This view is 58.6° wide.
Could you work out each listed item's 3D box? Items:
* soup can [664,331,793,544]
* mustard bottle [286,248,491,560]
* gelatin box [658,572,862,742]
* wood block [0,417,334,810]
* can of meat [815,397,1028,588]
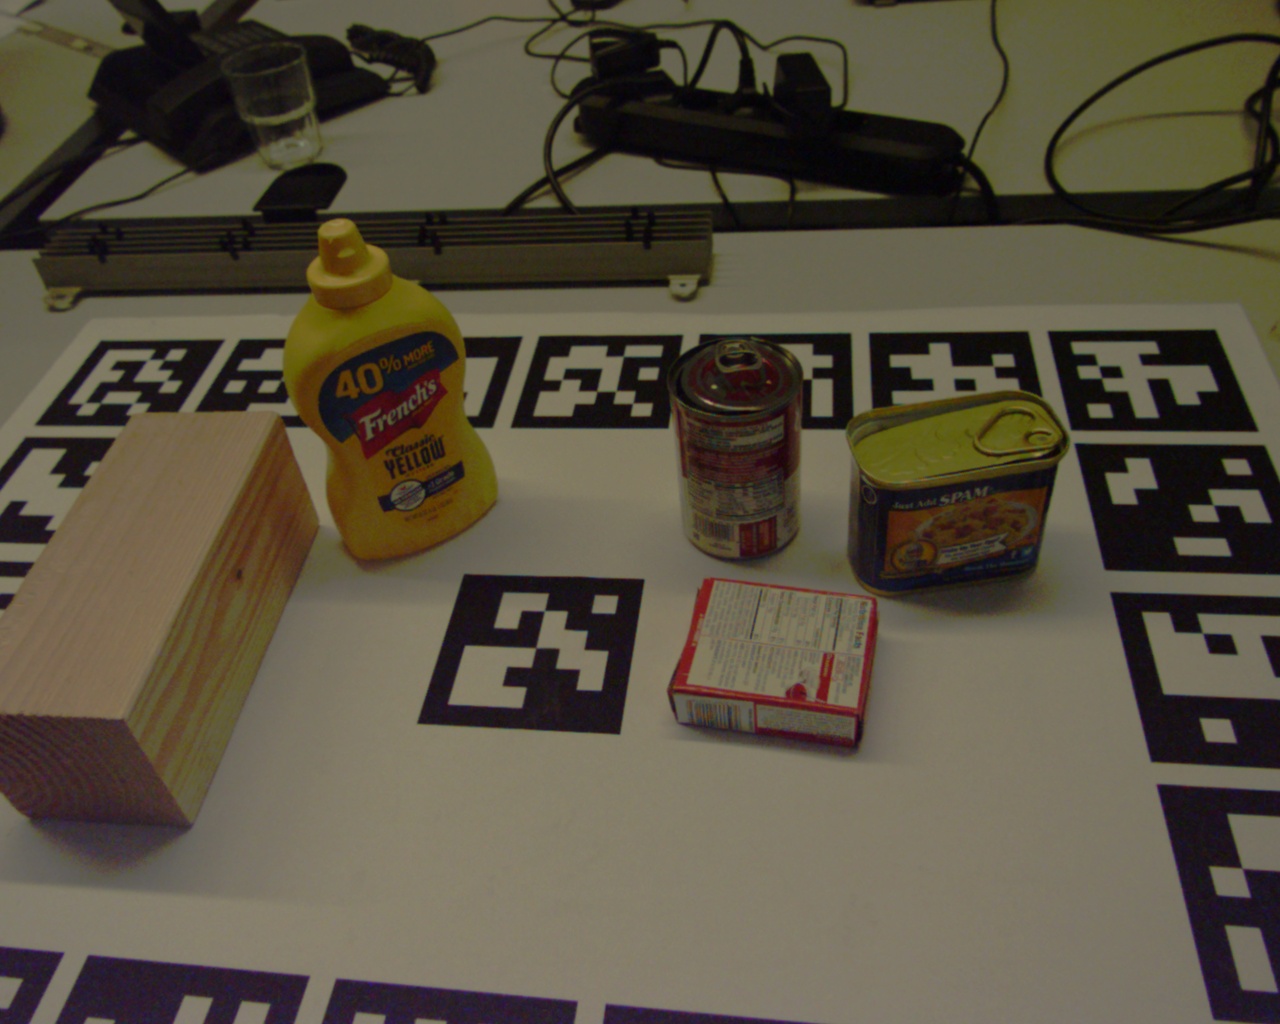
[{"bbox_3d":[0.051,-0.039,0.634,0.068,0.101,0.068,-5,45,4],"label":"soup can"},{"bbox_3d":[-0.145,-0.060,0.640,0.096,0.190,0.059,-16,44,-11],"label":"mustard bottle"},{"bbox_3d":[0.062,0.072,0.576,0.090,0.030,0.073,7,48,18],"label":"gelatin box"},{"bbox_3d":[-0.250,0.045,0.613,0.091,0.089,0.206,2,41,8],"label":"wood block"},{"bbox_3d":[0.147,-0.009,0.614,0.102,0.083,0.058,-7,45,-3],"label":"can of meat"}]
